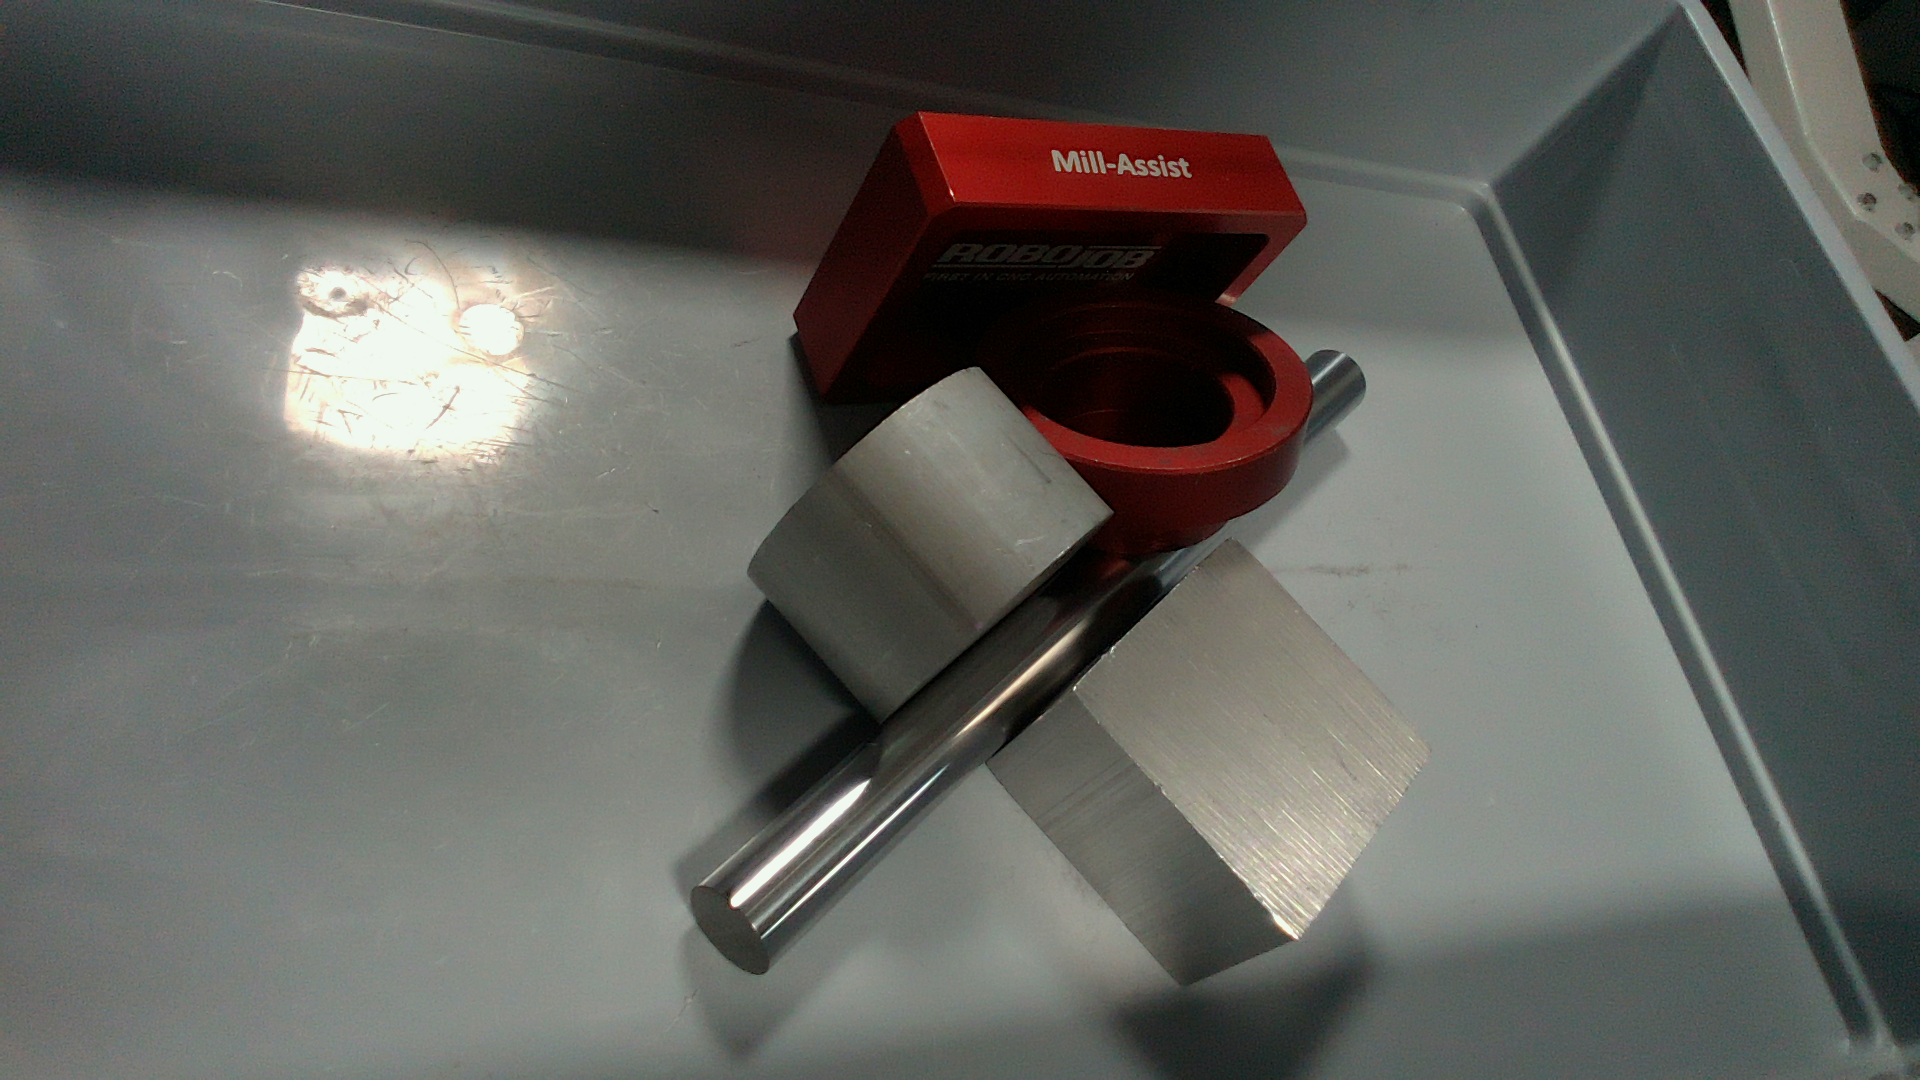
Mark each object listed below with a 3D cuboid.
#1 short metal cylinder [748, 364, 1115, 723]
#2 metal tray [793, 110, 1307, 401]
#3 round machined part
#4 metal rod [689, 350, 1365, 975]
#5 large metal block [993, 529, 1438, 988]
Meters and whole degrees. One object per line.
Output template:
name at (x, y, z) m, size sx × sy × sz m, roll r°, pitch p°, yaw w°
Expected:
short metal cylinder at (-0.007, 0.002, 0.349) m, size 0.050 × 0.080 × 0.080 m, roll 47°, pitch 51°, yaw 5°
metal tray at (0.027, -0.081, 0.409) m, size 0.130 × 0.090 × 0.030 m, roll -7°, pitch 65°, yaw -32°
round machined part at (0.052, -0.033, 0.408) m, size 0.098 × 0.042 × 0.098 m, roll 2°, pitch 39°, yaw -2°
metal rod at (0.041, 0.015, 0.401) m, size 0.025 × 0.025 × 0.301 m, roll 48°, pitch 51°, yaw 6°
large metal block at (0.068, 0.057, 0.372) m, size 0.080 × 0.050 × 0.080 m, roll 48°, pitch 51°, yaw 5°
